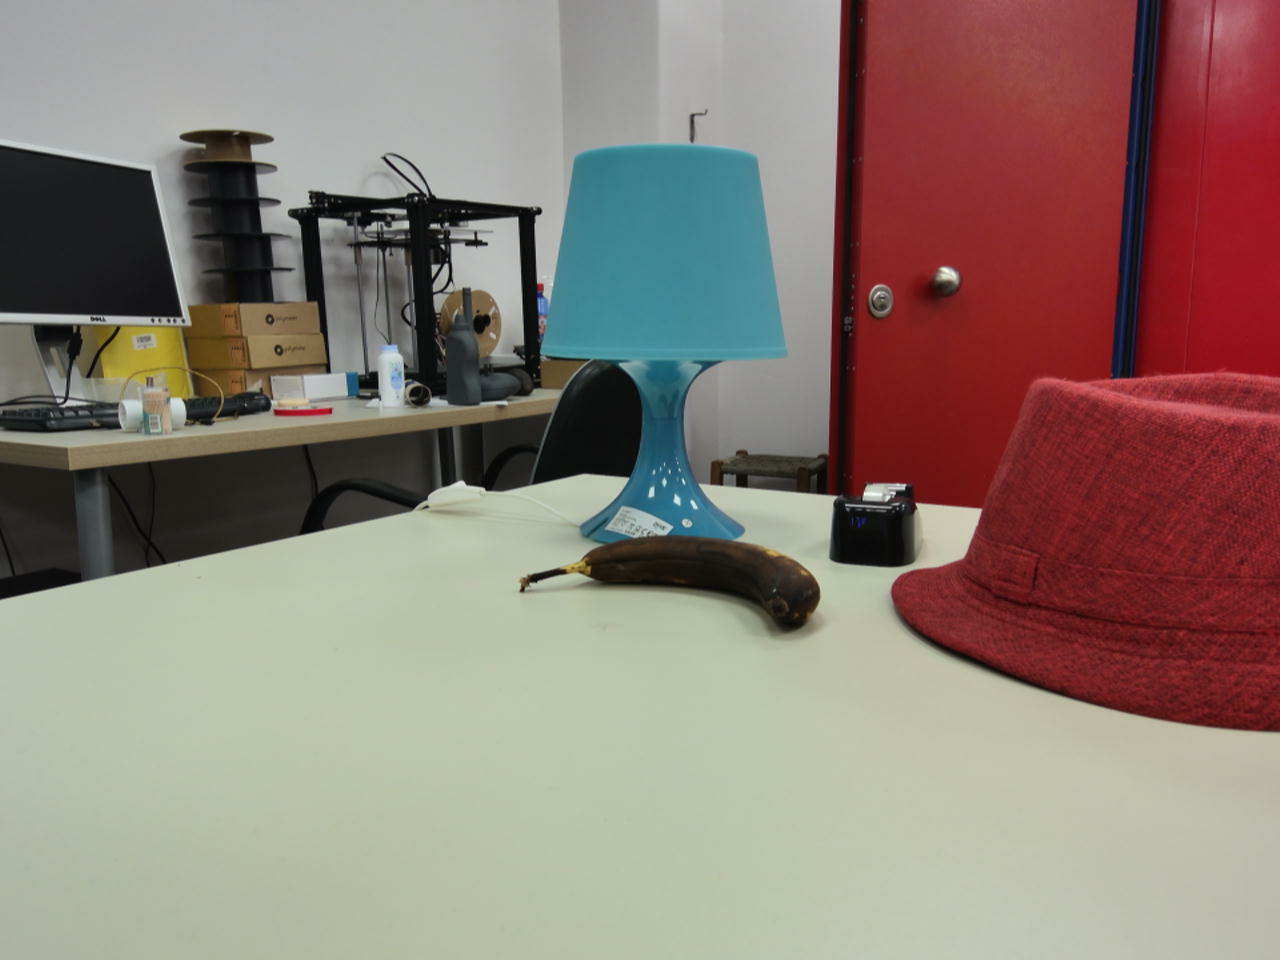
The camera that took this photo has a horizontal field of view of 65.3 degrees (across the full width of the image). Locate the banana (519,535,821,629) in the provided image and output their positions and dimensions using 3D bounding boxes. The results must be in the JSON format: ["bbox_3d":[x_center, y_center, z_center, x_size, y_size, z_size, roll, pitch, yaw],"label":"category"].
[{"bbox_3d":[0.029,0.055,0.603,0.188,0.033,0.091,6,9,36],"label":"banana"}]
